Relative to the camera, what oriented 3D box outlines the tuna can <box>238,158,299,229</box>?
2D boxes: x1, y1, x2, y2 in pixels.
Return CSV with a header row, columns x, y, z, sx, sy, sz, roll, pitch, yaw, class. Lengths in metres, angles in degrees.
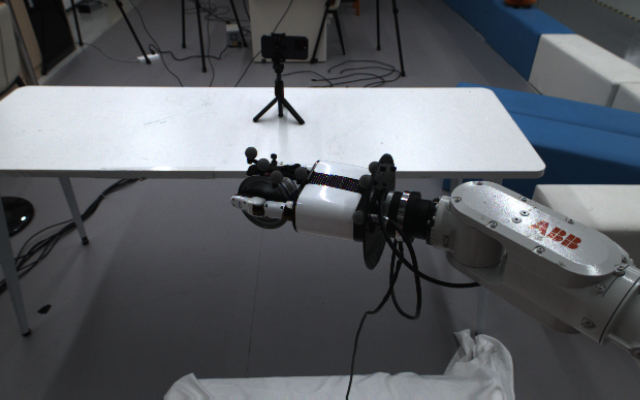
x,y,z,sx,sy,sz,roll,pitch,yaw,class
-0.073,-0.003,0.704,0.085,0.085,0.034,16,29,19,tuna can
